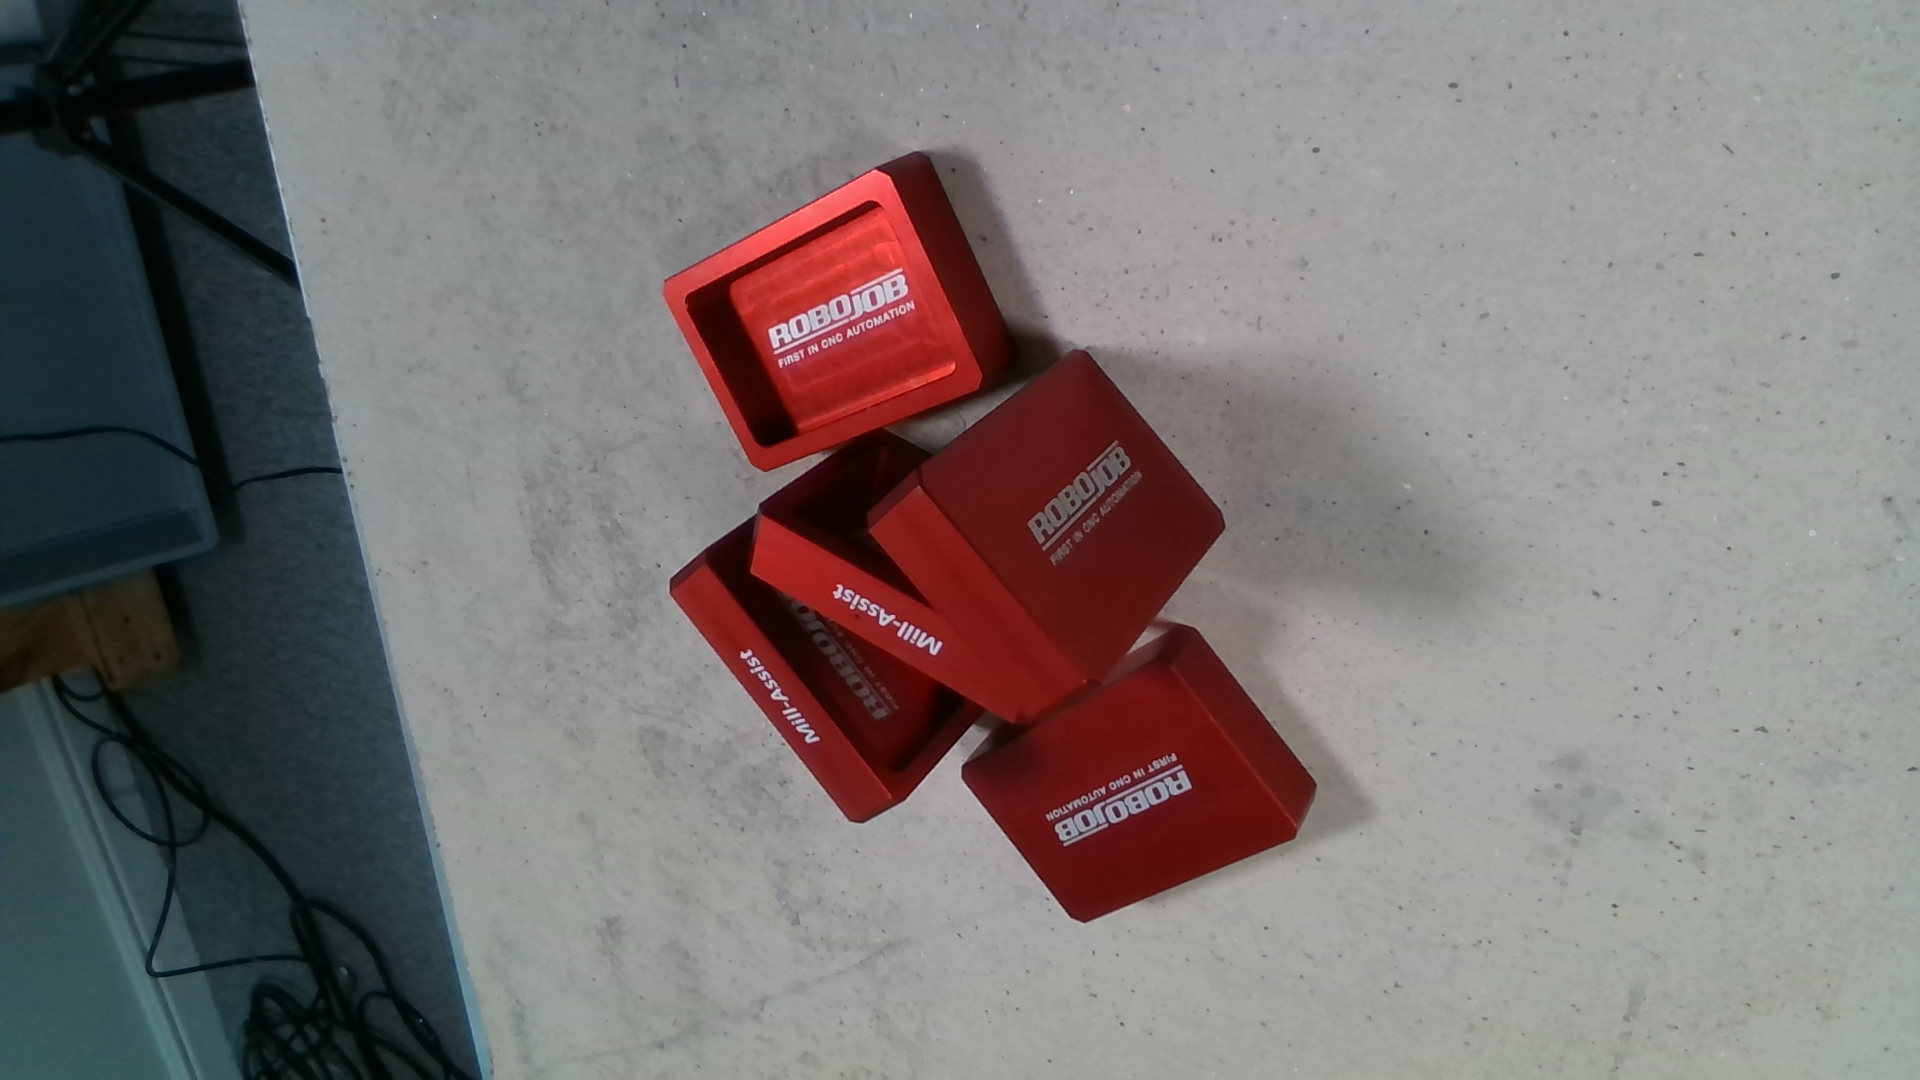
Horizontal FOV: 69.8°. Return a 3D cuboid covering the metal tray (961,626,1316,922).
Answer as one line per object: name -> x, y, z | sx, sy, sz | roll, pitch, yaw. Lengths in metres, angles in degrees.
metal tray -> 0.073, 0.103, 0.589 | 0.130, 0.030, 0.090 | -36, 94, 39

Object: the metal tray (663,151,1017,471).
metal tray -> -0.051, -0.089, 0.559 | 0.130, 0.030, 0.090 | -17, 106, 37

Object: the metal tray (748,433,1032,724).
metal tray -> -0.007, 0.010, 0.547 | 0.130, 0.090, 0.030 | 29, 127, 16

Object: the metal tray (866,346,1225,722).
metal tray -> 0.035, -0.007, 0.487 | 0.090, 0.130, 0.030 | 50, 130, -1

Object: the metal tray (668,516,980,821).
metal tray -> -0.053, 0.044, 0.594 | 0.030, 0.090, 0.130 | -35, 94, 39
